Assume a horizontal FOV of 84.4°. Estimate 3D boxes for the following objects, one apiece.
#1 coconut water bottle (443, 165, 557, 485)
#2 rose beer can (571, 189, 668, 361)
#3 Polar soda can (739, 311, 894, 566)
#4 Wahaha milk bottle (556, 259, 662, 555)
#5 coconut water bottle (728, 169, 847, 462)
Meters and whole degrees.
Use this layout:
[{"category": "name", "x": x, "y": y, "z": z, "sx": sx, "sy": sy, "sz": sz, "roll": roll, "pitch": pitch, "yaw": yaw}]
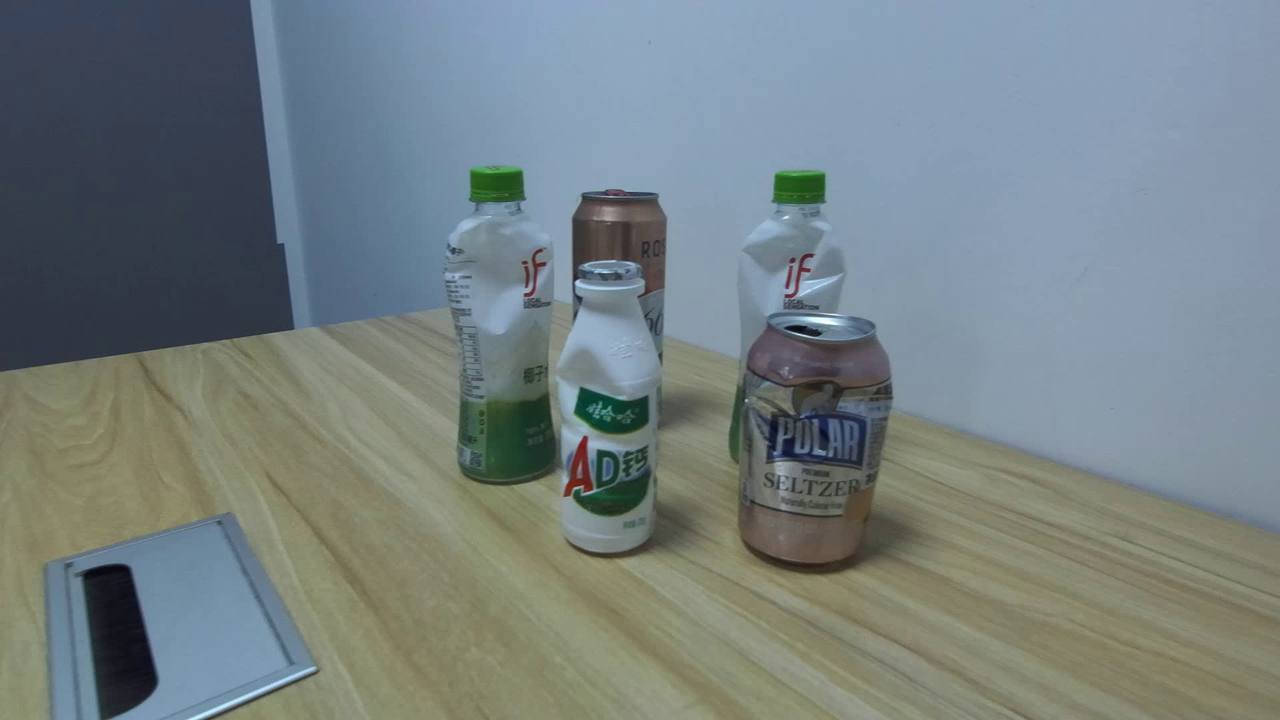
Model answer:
[{"category": "coconut water bottle", "x": -0.084, "y": -0.022, "z": 0.436, "sx": 0.069, "sy": 0.187, "sz": 0.069, "roll": 2, "pitch": 15, "yaw": 0}, {"category": "rose beer can", "x": -0.015, "y": -0.034, "z": 0.514, "sx": 0.068, "sy": 0.169, "sz": 0.068, "roll": 2, "pitch": 12, "yaw": 0}, {"category": "Polar soda can", "x": 0.084, "y": 0.039, "z": 0.361, "sx": 0.067, "sy": 0.122, "sz": 0.074, "roll": -13, "pitch": 24, "yaw": -41}, {"category": "Wahaha milk bottle", "x": -0.017, "y": 0.024, "z": 0.361, "sx": 0.056, "sy": 0.147, "sz": 0.056, "roll": 2, "pitch": 19, "yaw": 0}, {"category": "coconut water bottle", "x": 0.092, "y": -0.022, "z": 0.447, "sx": 0.067, "sy": 0.187, "sz": 0.067, "roll": 2, "pitch": 17, "yaw": 0}]
